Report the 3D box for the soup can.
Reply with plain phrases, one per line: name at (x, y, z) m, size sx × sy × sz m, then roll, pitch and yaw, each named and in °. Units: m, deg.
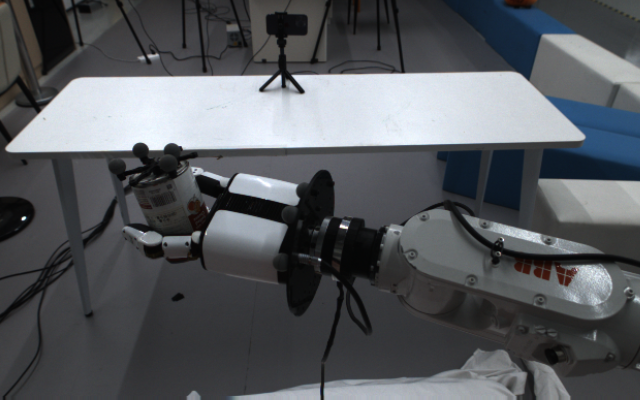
soup can at (-0.161, 0.012, 0.544) m, size 0.067 × 0.101 × 0.067 m, roll -11°, pitch 27°, yaw 6°
